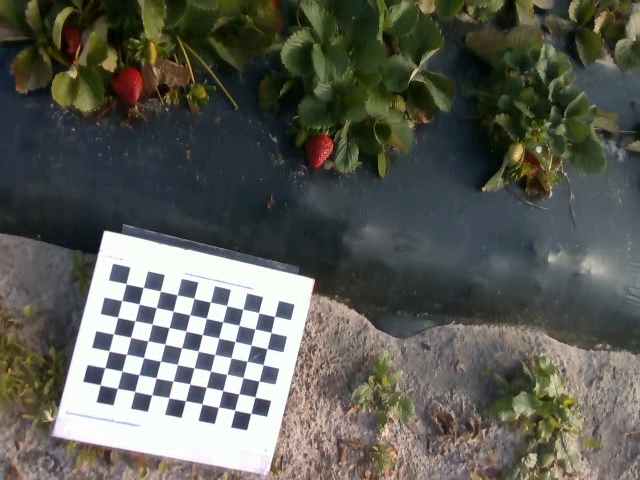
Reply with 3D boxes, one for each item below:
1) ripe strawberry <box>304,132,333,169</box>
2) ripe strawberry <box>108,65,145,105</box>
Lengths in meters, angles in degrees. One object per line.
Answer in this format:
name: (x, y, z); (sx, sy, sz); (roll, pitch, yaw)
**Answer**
ripe strawberry: (-0.001, -0.079, 0.708); (0.029, 0.036, 0.021); (14, -14, -9)
ripe strawberry: (-0.162, -0.129, 0.662); (0.032, 0.030, 0.025); (-25, -16, -15)
